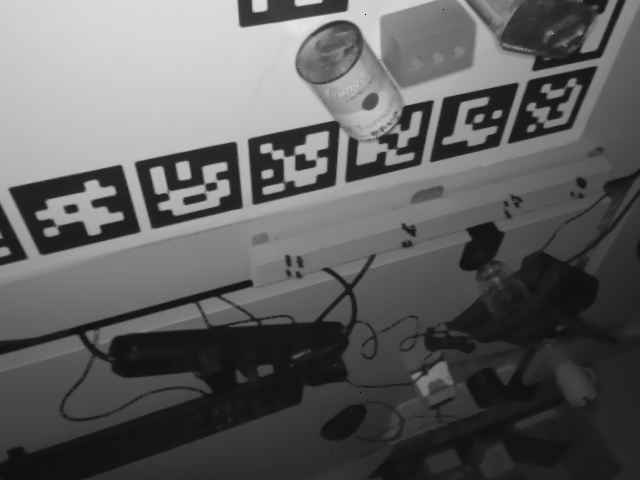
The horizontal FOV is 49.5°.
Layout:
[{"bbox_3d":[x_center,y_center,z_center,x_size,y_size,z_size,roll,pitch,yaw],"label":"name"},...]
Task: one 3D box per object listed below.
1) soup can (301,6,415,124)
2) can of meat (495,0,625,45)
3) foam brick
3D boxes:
[{"bbox_3d":[0.038,-0.160,0.647,0.067,0.068,0.103,-38,146,15],"label":"soup can"},{"bbox_3d":[0.213,-0.229,0.641,0.103,0.084,0.057,-4,136,-25],"label":"can of meat"},{"bbox_3d":[0.116,-0.198,0.650,0.078,0.051,0.052,-21,141,-7],"label":"foam brick"}]
